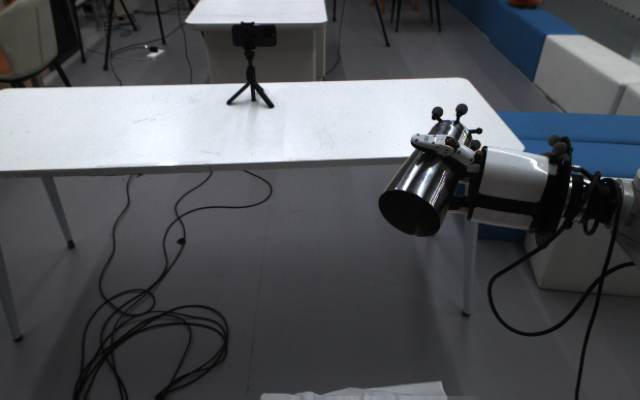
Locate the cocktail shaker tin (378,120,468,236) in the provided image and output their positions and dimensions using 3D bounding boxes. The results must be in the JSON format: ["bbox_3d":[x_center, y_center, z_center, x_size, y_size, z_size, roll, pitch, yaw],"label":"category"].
[{"bbox_3d":[0.165,-0.044,0.703,0.093,0.093,0.170,19,54,22],"label":"cocktail shaker tin"}]
